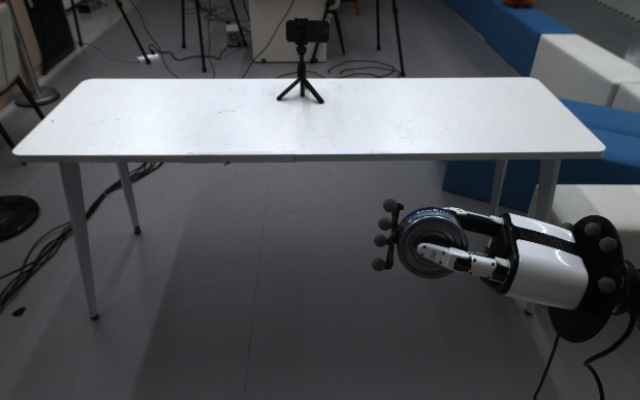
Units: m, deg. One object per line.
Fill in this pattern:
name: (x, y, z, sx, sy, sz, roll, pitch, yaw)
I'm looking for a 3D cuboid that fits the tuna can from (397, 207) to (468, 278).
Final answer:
tuna can: (0.139, 0.051, 0.599, 0.085, 0.085, 0.034, 4, 17, 3)
